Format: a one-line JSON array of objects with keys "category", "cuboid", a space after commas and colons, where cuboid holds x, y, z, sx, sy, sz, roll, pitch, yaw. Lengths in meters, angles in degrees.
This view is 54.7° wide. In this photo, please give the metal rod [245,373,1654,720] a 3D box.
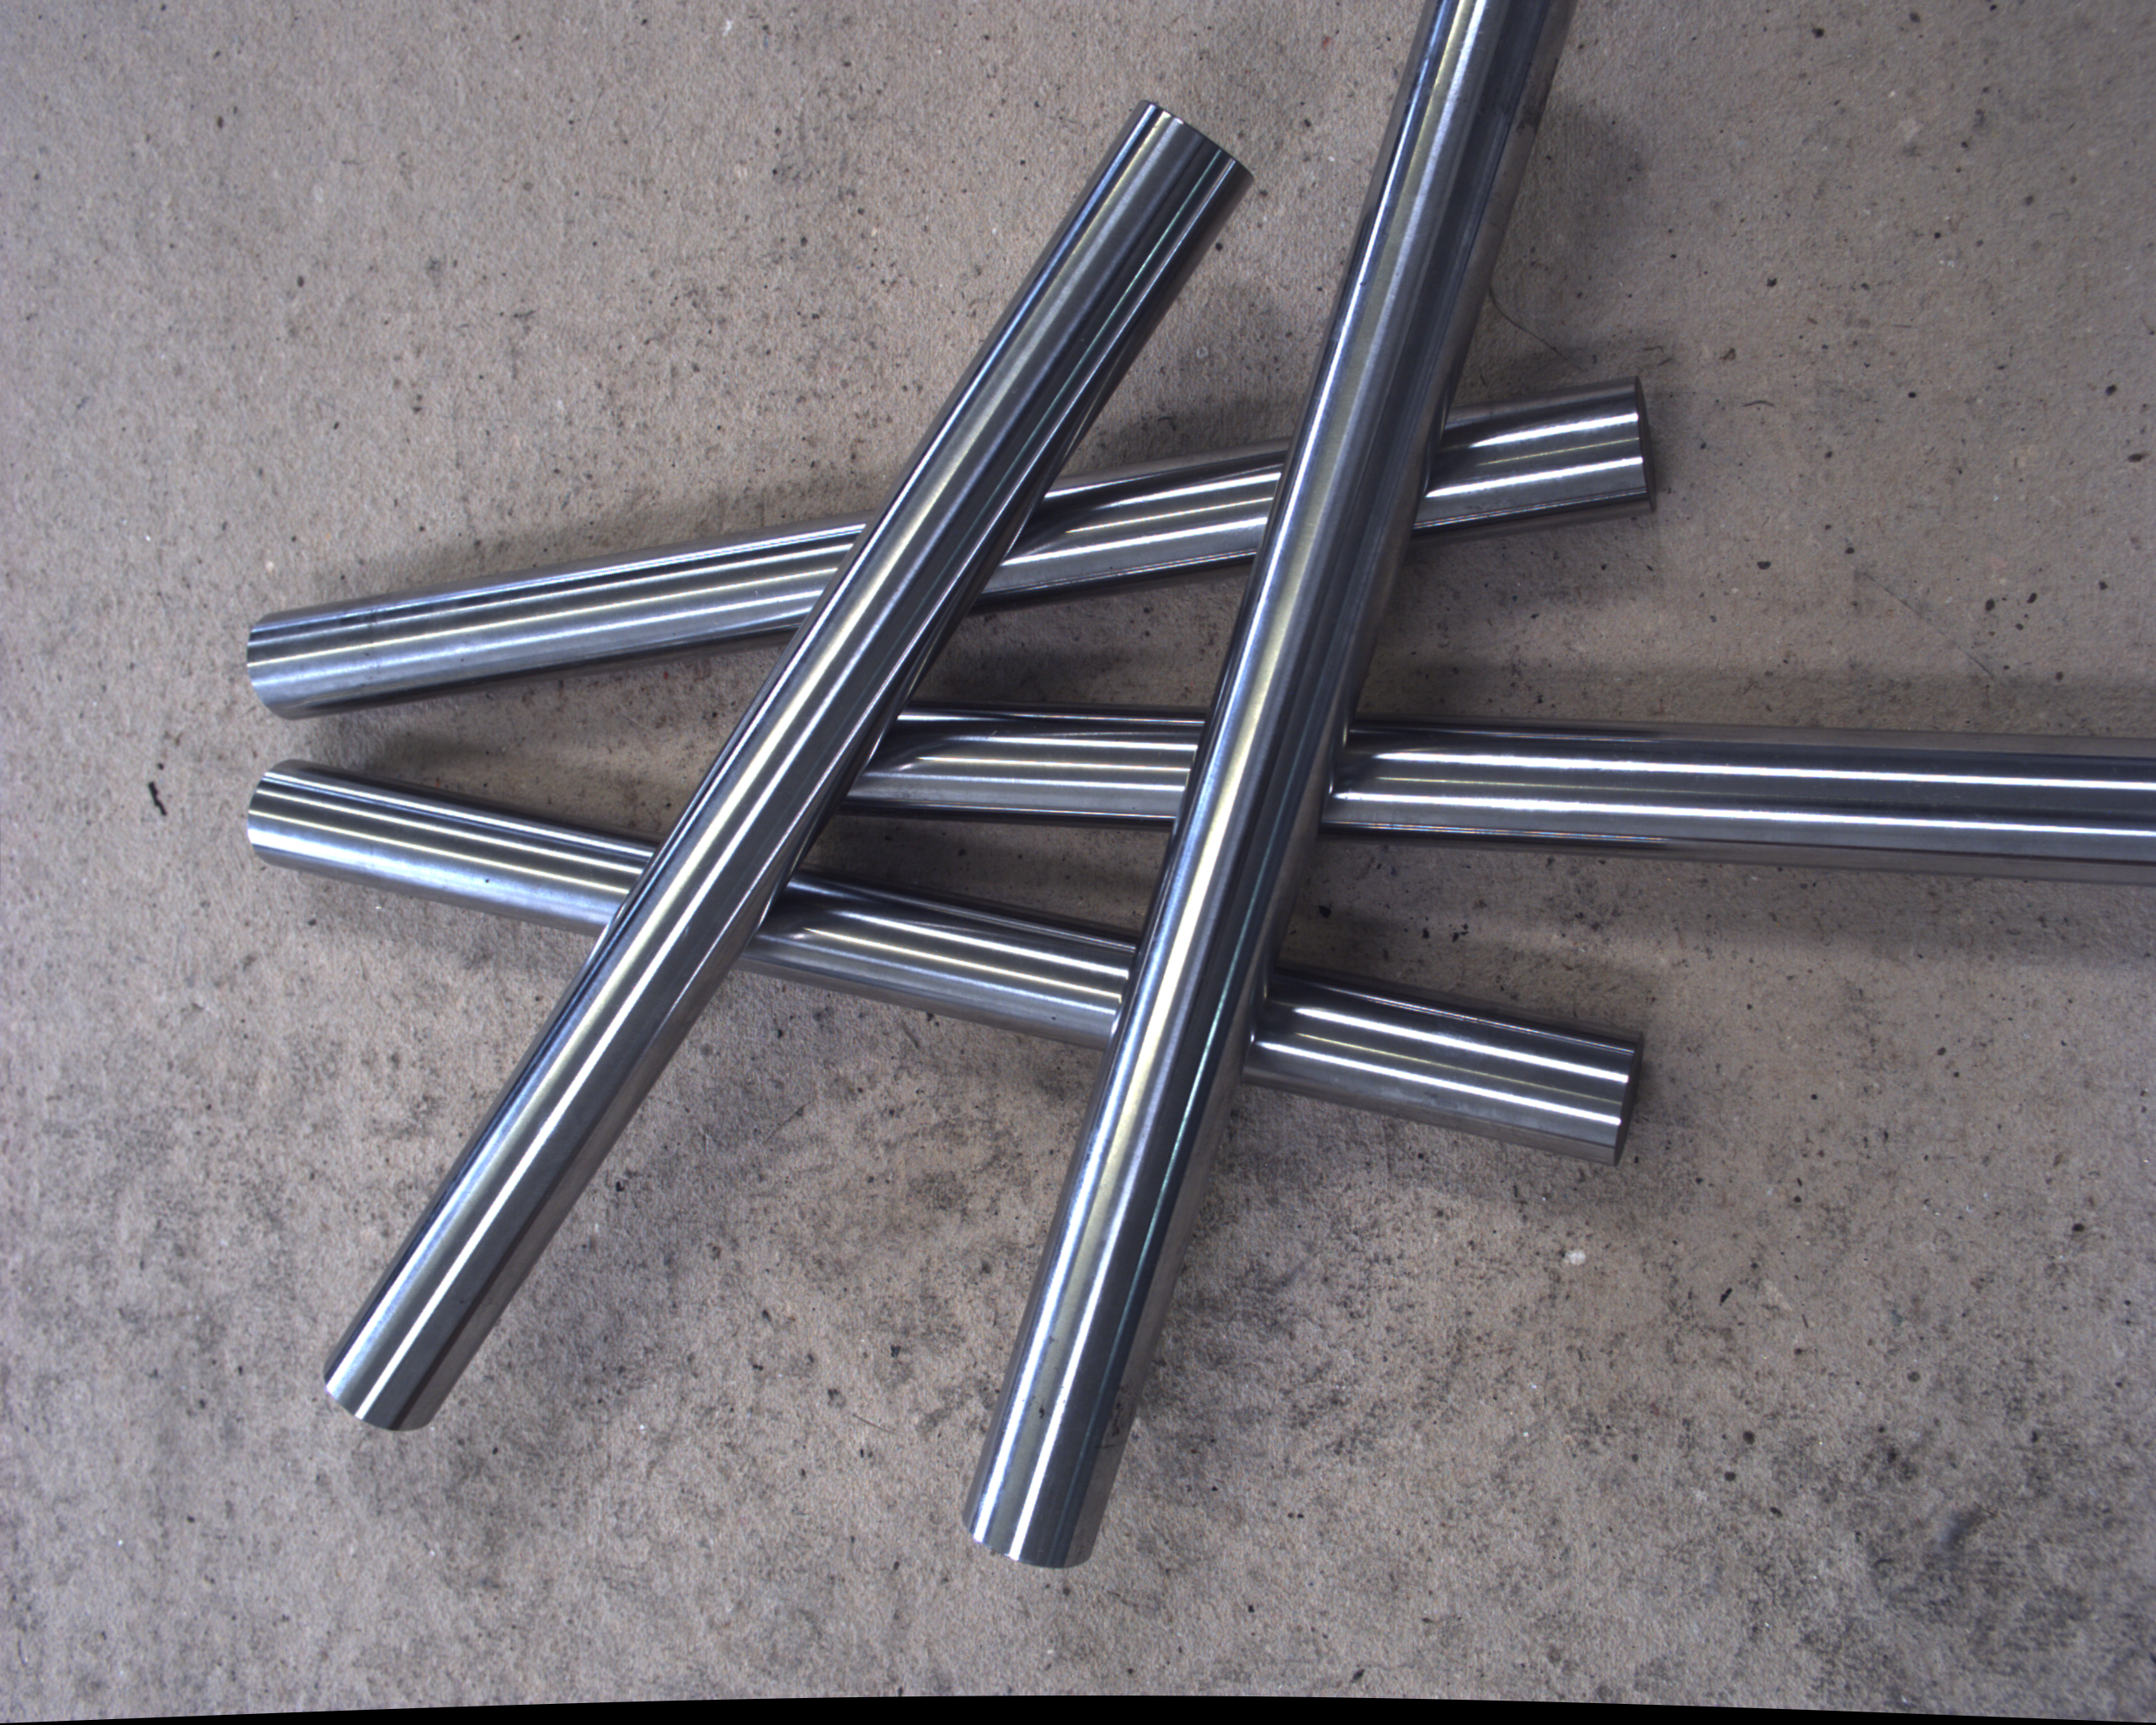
[{"category": "metal rod", "cuboid": [-0.039, -0.060, 0.424, 0.301, 0.025, 0.025, -6, 88, 19]}]

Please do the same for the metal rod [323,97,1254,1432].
[{"category": "metal rod", "cuboid": [-0.062, -0.010, 0.406, 0.025, 0.025, 0.299, 38, 102, 16]}]

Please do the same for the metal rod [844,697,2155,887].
[{"category": "metal rod", "cuboid": [0.083, -0.014, 0.381, 0.301, 0.025, 0.025, 3, 91, 19]}]

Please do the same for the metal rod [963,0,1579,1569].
[{"category": "metal rod", "cuboid": [0.034, -0.017, 0.372, 0.025, 0.025, 0.298, 19, 96, 19]}]

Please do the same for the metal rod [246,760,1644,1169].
[{"category": "metal rod", "cuboid": [-0.040, 0.016, 0.424, 0.301, 0.025, 0.025, 11, 94, 19]}]
